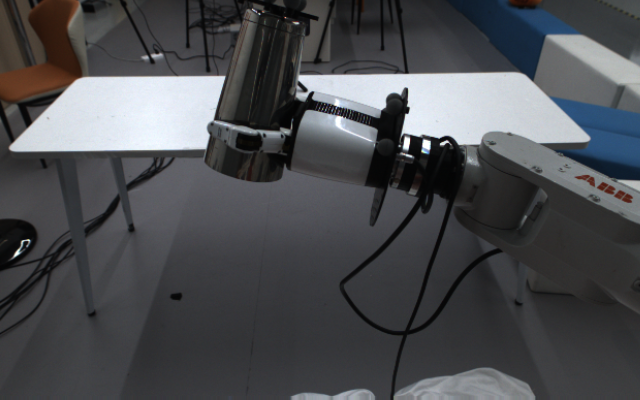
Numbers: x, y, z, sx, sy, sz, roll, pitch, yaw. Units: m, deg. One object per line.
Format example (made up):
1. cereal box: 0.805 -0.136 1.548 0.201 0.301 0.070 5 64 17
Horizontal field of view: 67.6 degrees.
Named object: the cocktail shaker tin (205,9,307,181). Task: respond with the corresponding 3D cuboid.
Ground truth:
1. cocktail shaker tin: -0.066 -0.115 0.535 0.093 0.170 0.093 14 20 -5
